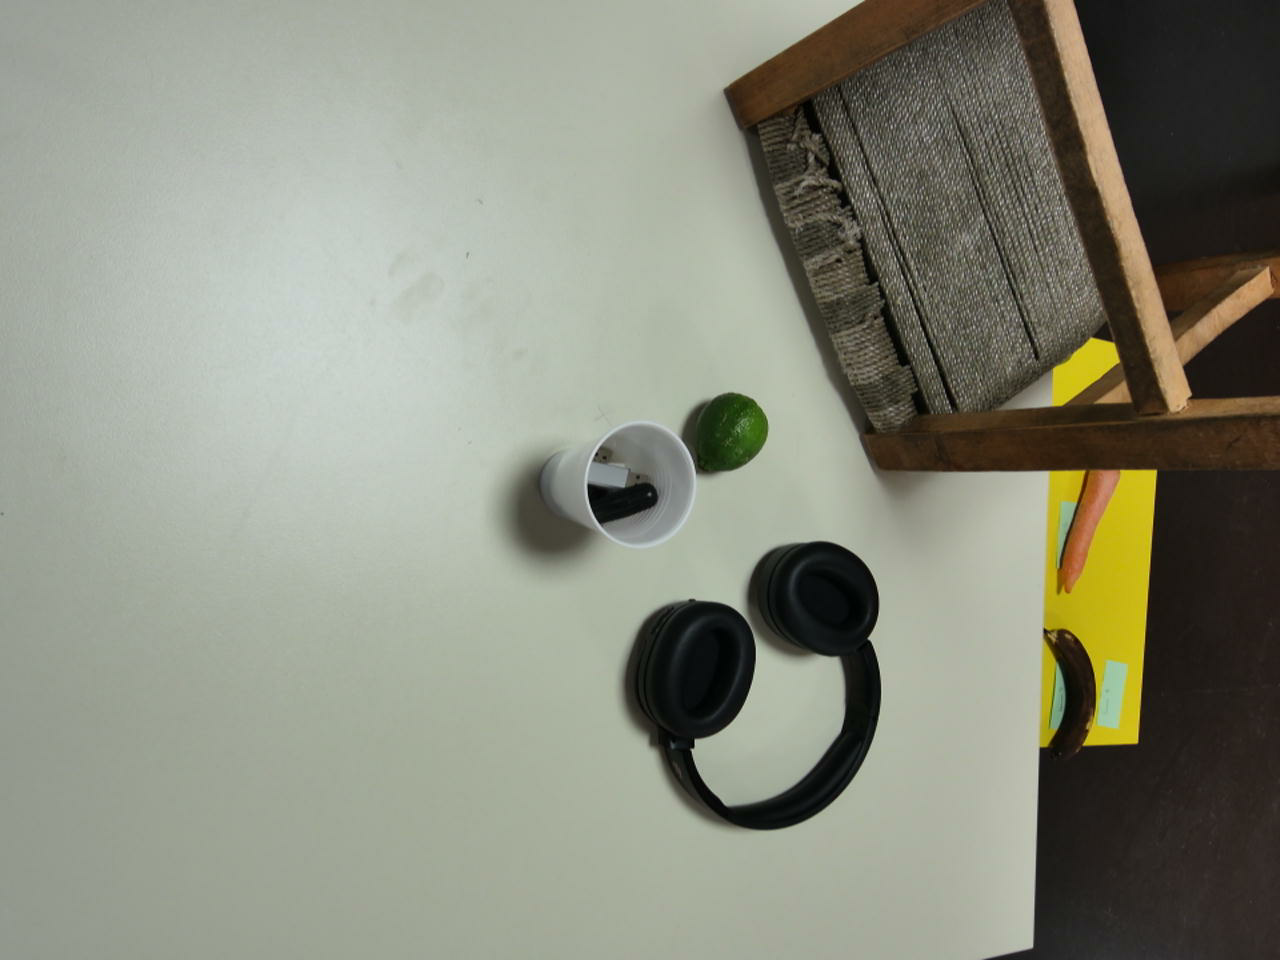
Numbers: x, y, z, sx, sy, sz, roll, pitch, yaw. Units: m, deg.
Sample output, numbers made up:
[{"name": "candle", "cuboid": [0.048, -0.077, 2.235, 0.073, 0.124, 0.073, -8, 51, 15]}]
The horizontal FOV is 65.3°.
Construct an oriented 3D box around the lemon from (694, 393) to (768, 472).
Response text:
[{"name": "lemon", "cuboid": [0.067, -0.035, 0.734, 0.054, 0.051, 0.057, -1, 91, -28]}]
